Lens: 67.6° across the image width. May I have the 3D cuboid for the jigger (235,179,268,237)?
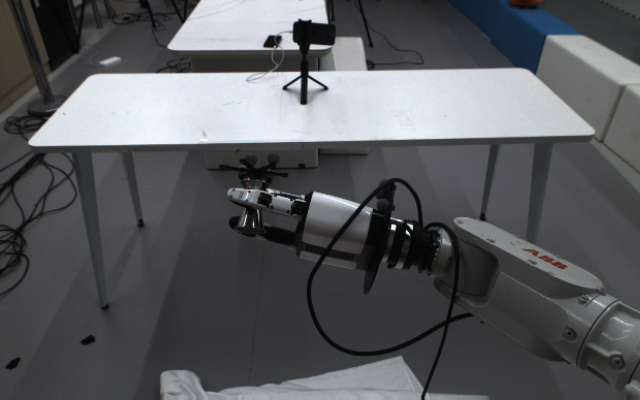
[{"bbox_3d":[-0.093,0.009,0.666,0.043,0.043,0.071,4,75,2],"label":"jigger"}]
